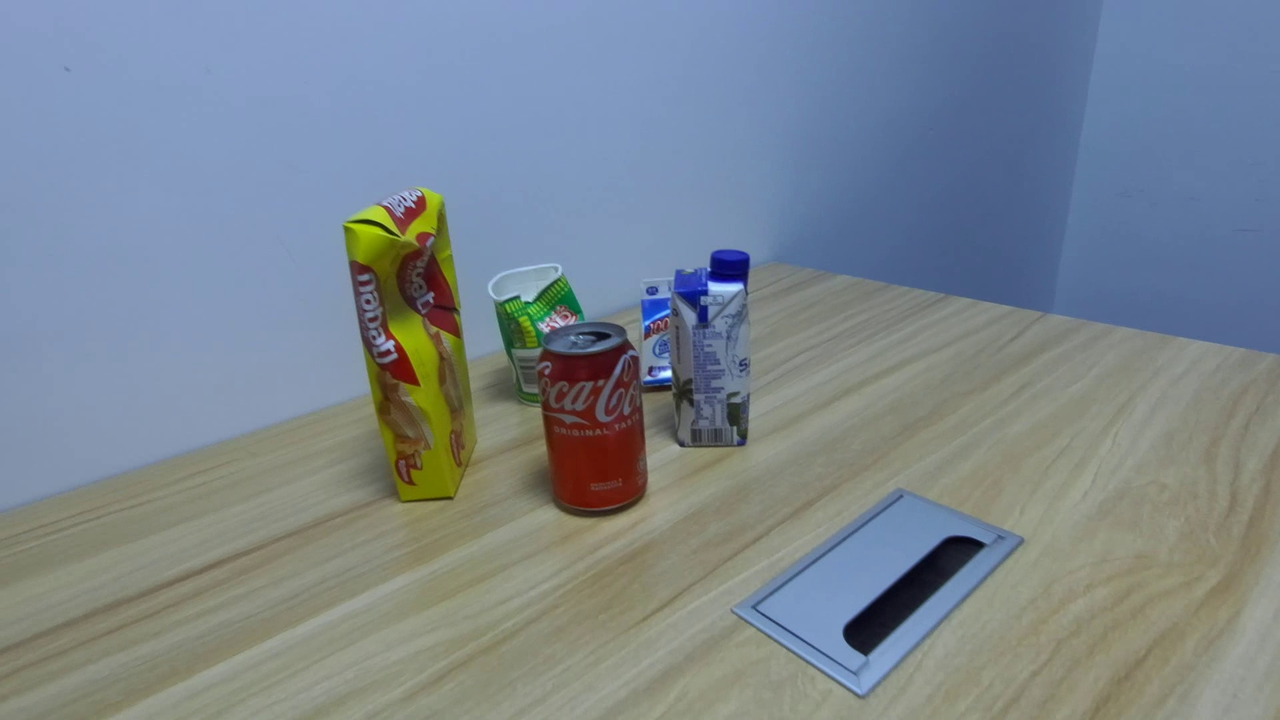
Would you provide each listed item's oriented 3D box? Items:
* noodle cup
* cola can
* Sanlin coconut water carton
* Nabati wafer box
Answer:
[{"bbox_3d":[-0.085,-0.023,0.639,0.083,0.122,0.075,-27,22,-23],"label":"noodle cup"},{"bbox_3d":[-0.030,0.037,0.469,0.068,0.120,0.068,-3,21,2],"label":"cola can"},{"bbox_3d":[0.053,-0.009,0.529,0.061,0.144,0.060,-3,22,5],"label":"Sanlin coconut water carton"},{"bbox_3d":[-0.156,-0.010,0.495,0.042,0.204,0.107,-3,23,1],"label":"Nabati wafer box"}]
